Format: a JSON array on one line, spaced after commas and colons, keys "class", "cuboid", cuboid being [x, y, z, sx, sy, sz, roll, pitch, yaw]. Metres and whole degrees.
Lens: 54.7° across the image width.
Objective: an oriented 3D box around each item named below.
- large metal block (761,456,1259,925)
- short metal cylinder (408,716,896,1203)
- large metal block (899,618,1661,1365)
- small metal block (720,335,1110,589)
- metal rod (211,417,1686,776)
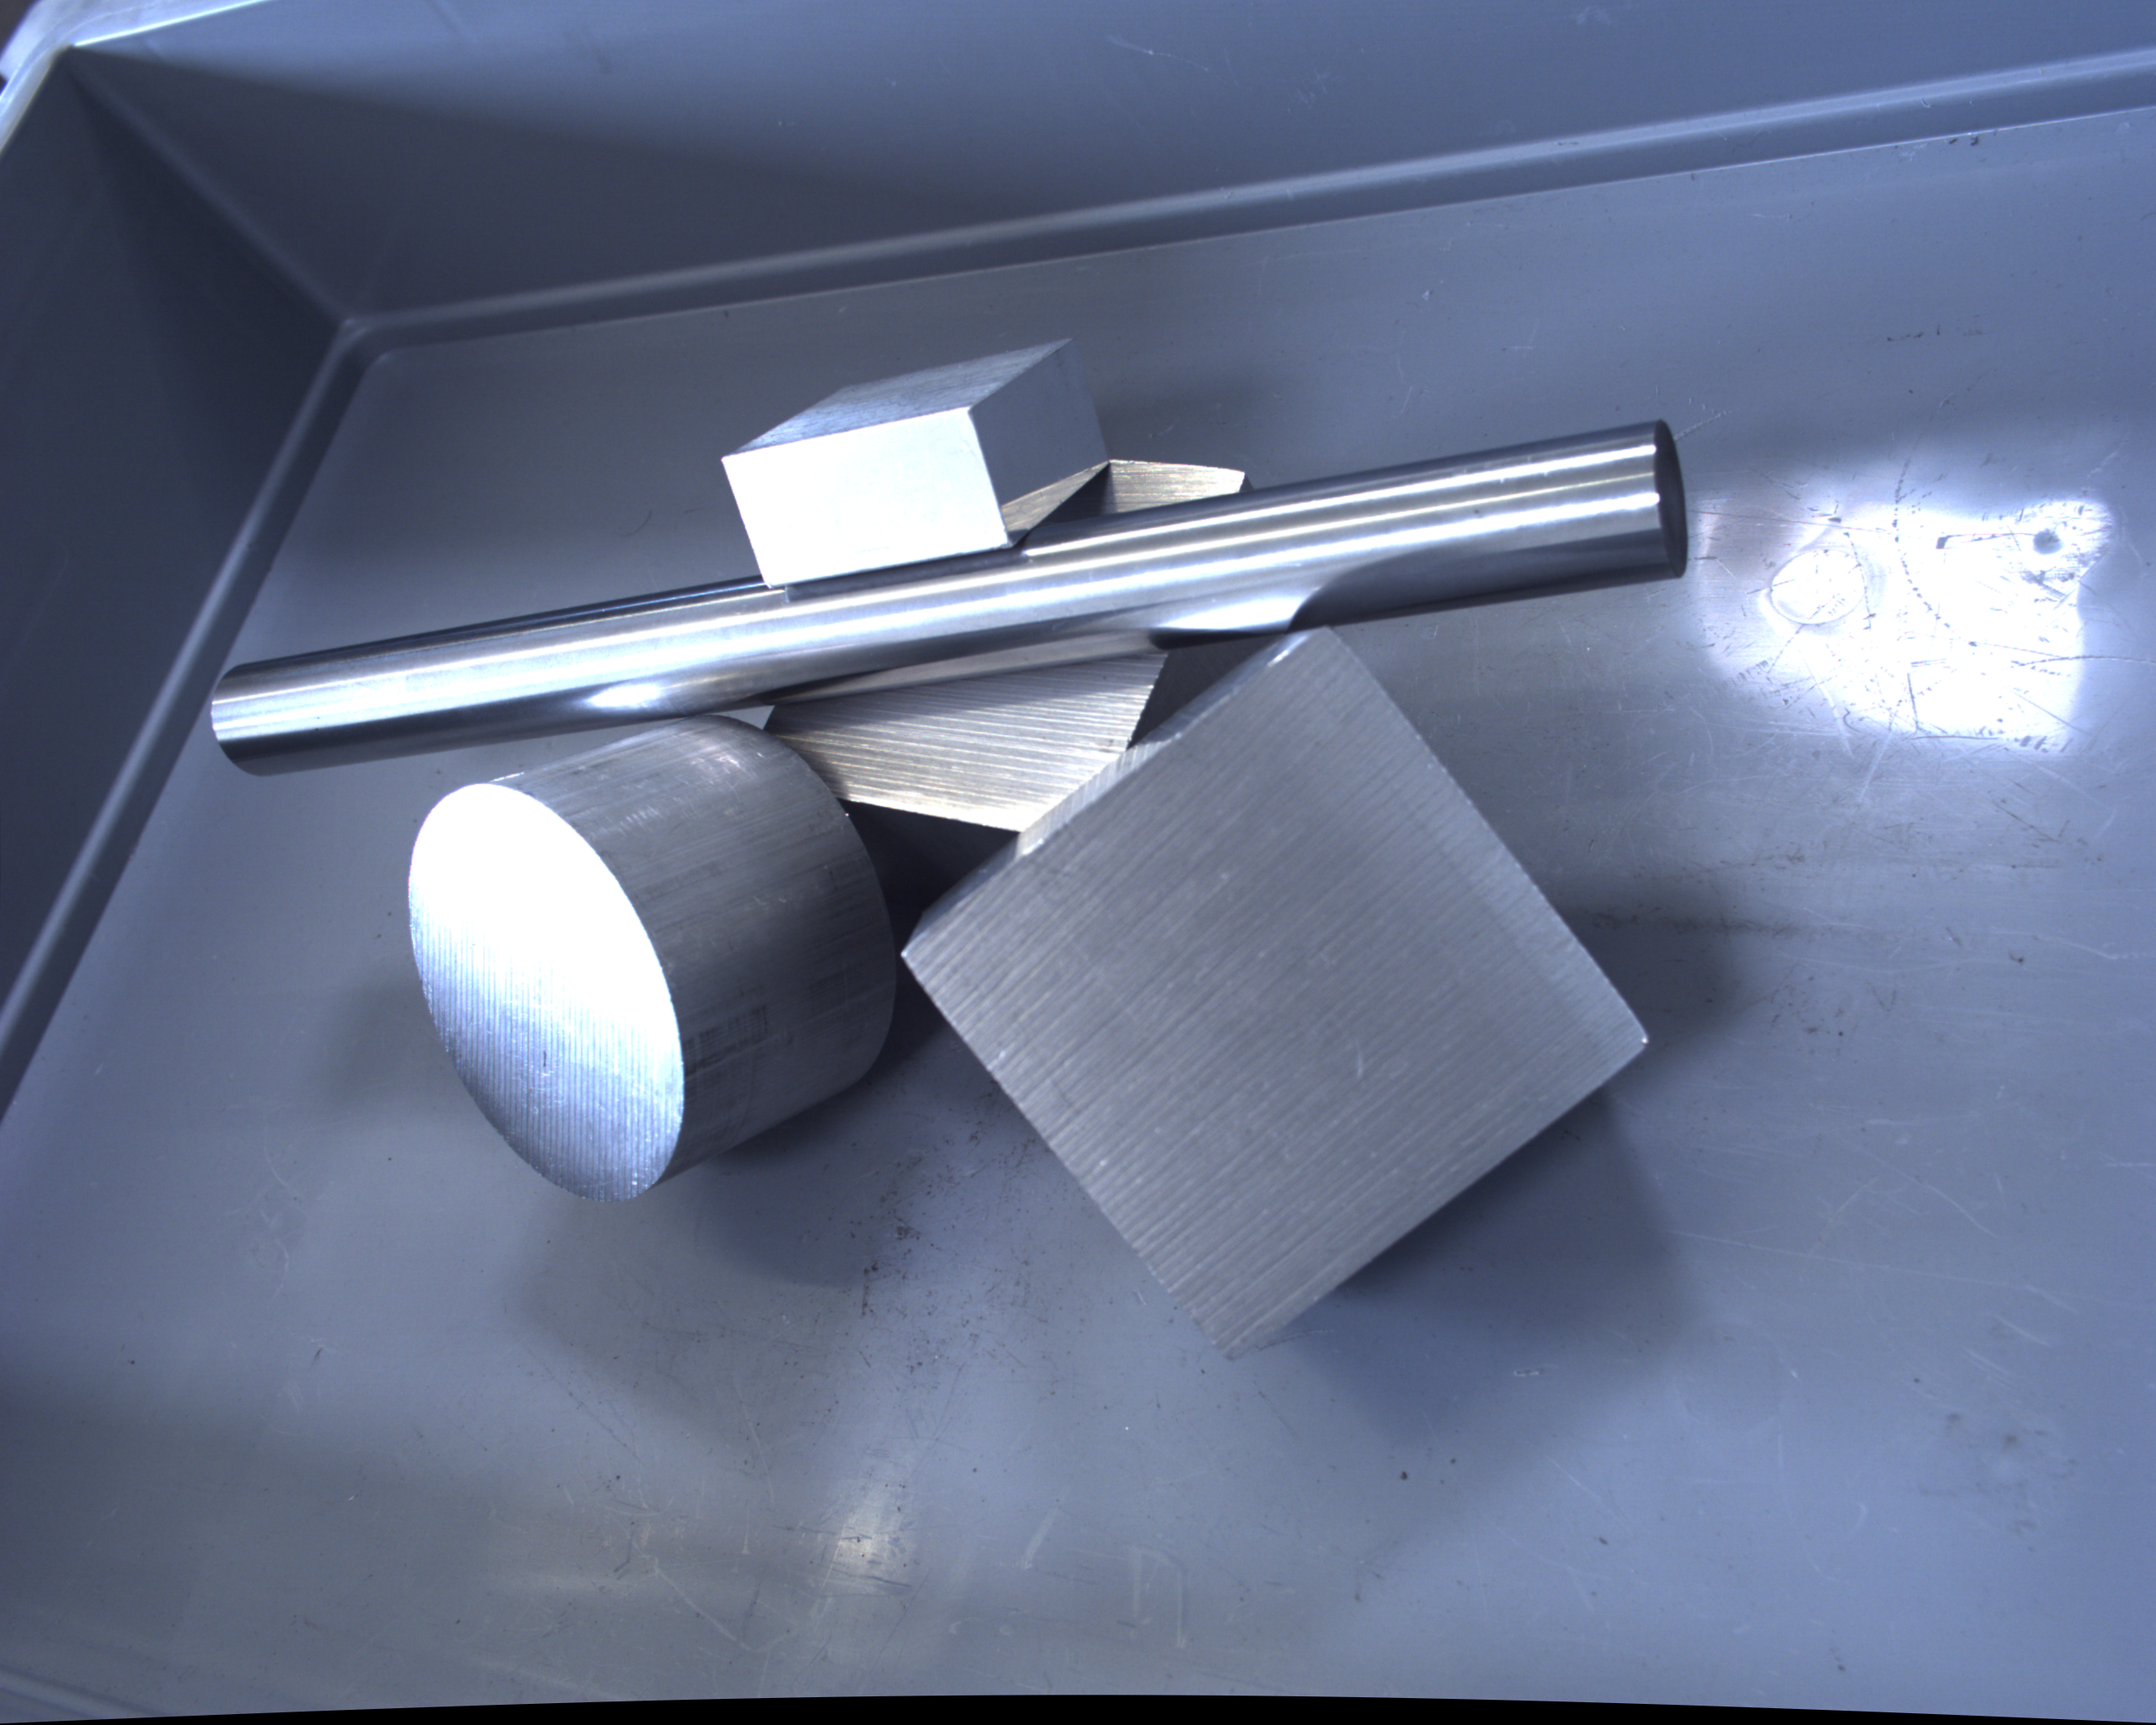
[{"class": "large metal block", "cuboid": [-0.007, -0.033, 0.411, 0.080, 0.050, 0.080, 12, 67, 33]}, {"class": "short metal cylinder", "cuboid": [-0.081, 0.017, 0.392, 0.080, 0.079, 0.050, 21, 30, 36]}, {"class": "large metal block", "cuboid": [0.030, 0.018, 0.334, 0.080, 0.050, 0.080, -39, 95, 2]}, {"class": "small metal block", "cuboid": [-0.029, -0.074, 0.385, 0.050, 0.025, 0.050, -6, 24, 25]}, {"class": "metal rod", "cuboid": [-0.043, -0.044, 0.389, 0.300, 0.025, 0.025, -5, 59, 25]}]
